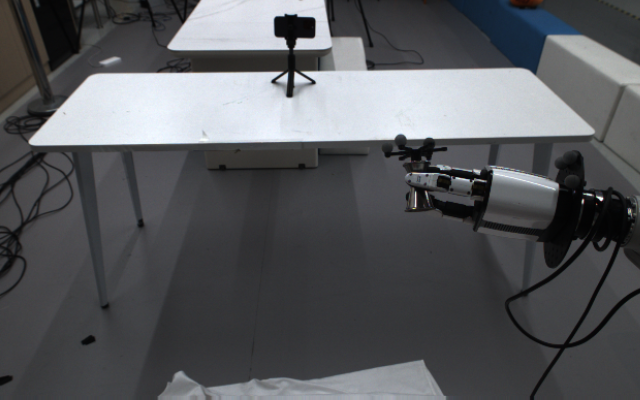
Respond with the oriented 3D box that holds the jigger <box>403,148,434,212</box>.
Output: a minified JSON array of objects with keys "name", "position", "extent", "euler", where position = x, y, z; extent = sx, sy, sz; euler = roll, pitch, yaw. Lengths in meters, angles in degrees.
[{"name":"jigger","position":[0.139,-0.020,0.688],"extent":[0.043,0.071,0.043],"euler":[-2,-7,0]}]
